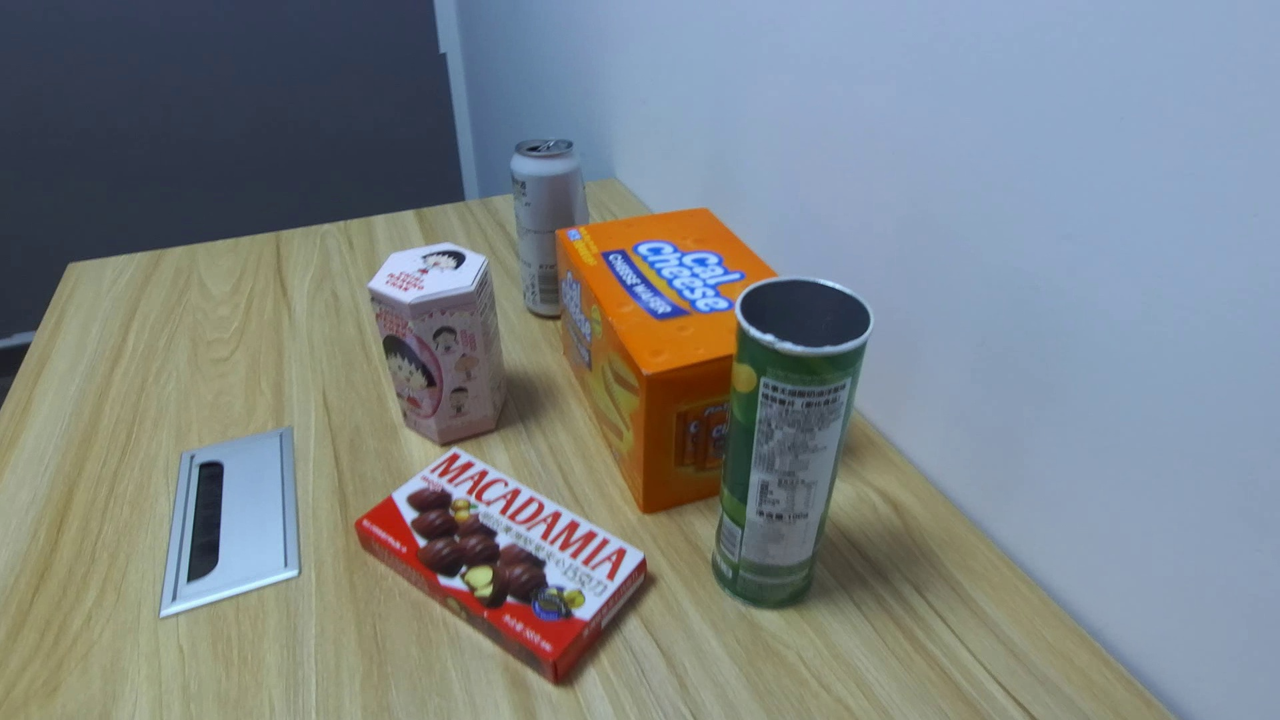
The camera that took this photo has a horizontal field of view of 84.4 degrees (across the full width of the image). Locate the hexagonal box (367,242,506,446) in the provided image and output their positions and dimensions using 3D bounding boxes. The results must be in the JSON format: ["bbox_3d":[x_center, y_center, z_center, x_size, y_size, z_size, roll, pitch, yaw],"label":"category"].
[{"bbox_3d":[-0.157,-0.011,0.563,0.091,0.136,0.084,22,41,27],"label":"hexagonal box"}]

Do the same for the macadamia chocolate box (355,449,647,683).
[{"bbox_3d":[-0.093,0.126,0.468,0.177,0.027,0.096,23,41,28],"label":"macadamia chocolate box"}]

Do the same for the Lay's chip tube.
[{"bbox_3d":[0.082,0.055,0.409,0.071,0.203,0.071,0,36,1],"label":"Lay's chip tube"}]

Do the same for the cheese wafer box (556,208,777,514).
[{"bbox_3d":[0.035,-0.014,0.571,0.148,0.129,0.221,-13,38,-15],"label":"cheese wafer box"}]

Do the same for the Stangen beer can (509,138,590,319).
[{"bbox_3d":[-0.086,-0.129,0.695,0.070,0.173,0.070,-21,38,-31],"label":"Stangen beer can"}]
